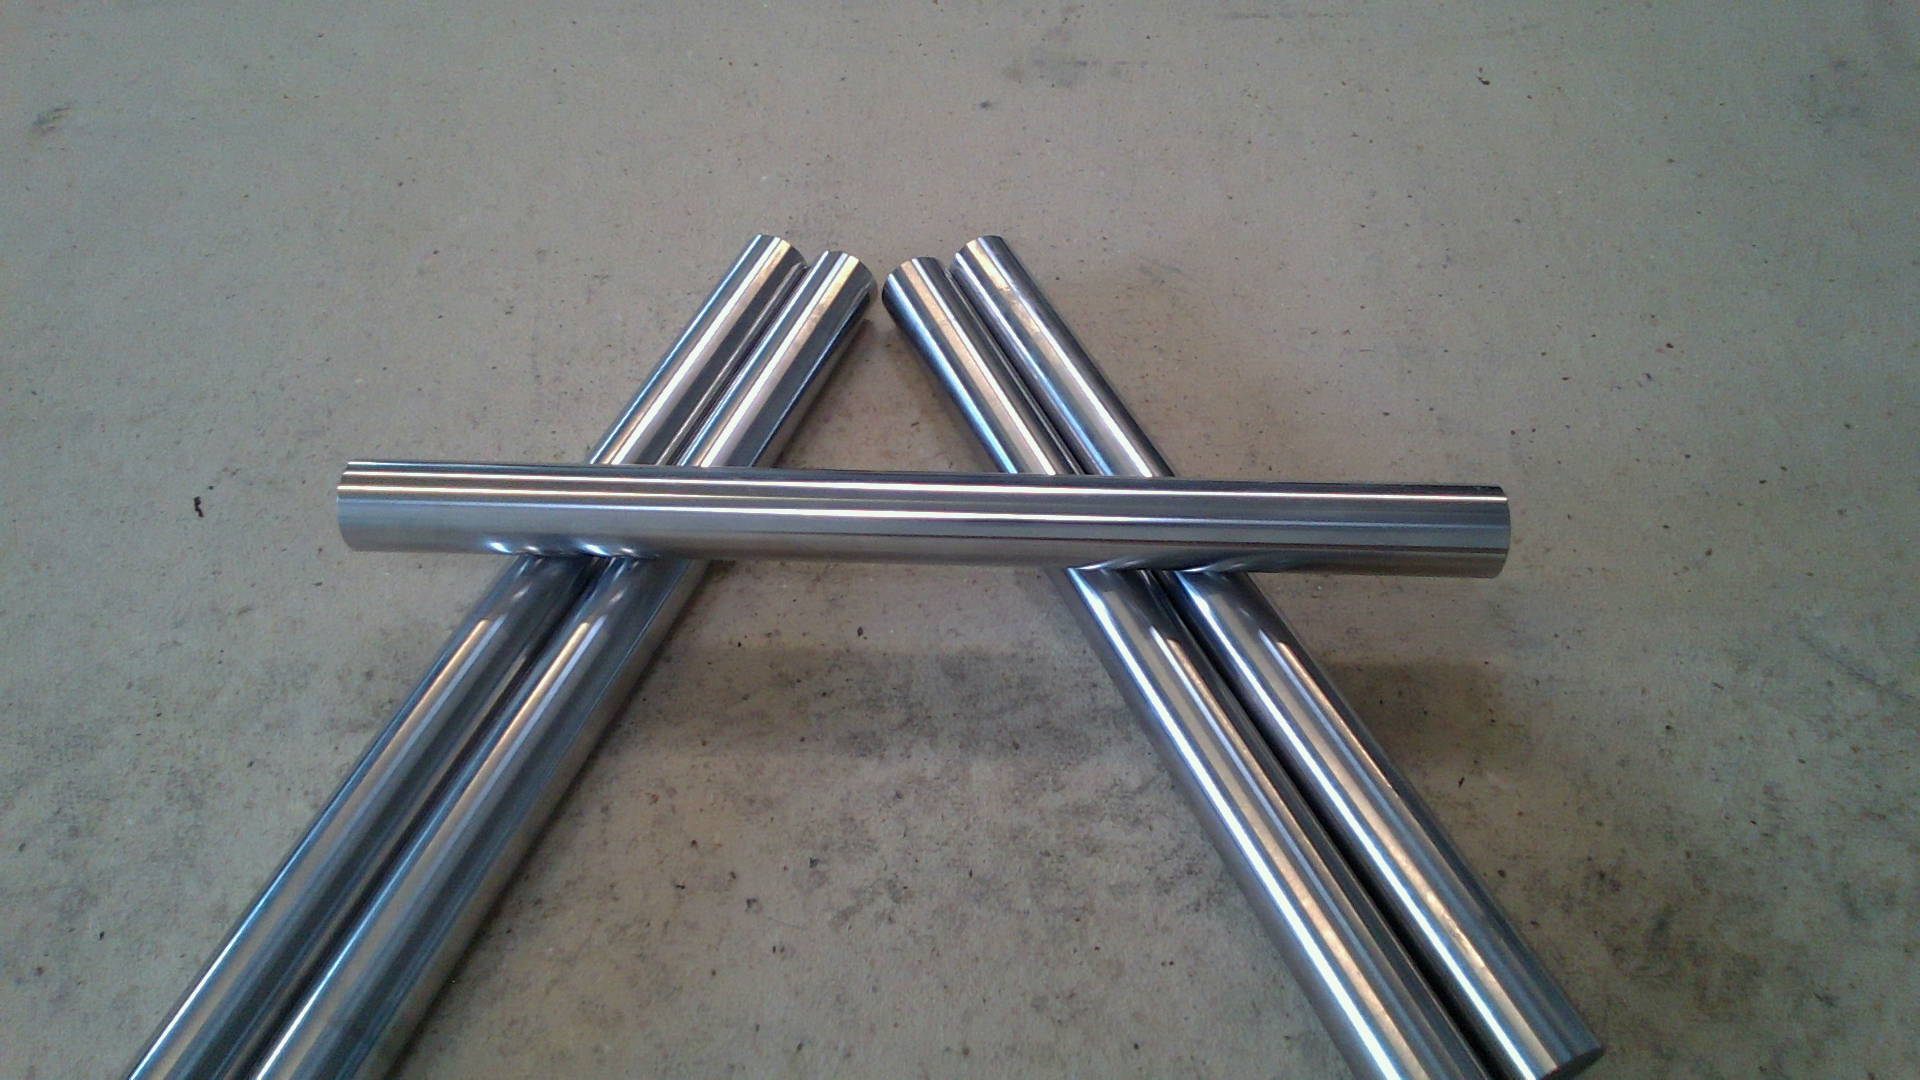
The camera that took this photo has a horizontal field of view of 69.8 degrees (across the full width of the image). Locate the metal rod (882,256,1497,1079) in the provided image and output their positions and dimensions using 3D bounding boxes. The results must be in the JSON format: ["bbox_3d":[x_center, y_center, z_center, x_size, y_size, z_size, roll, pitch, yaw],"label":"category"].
[{"bbox_3d":[0.045,0.020,0.376,0.025,0.025,0.299,-19,52,-15],"label":"metal rod"}]

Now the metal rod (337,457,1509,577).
[{"bbox_3d":[-0.010,-0.006,0.364,0.300,0.025,0.025,1,50,1],"label":"metal rod"}]

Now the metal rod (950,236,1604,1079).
[{"bbox_3d":[0.067,0.011,0.383,0.025,0.025,0.299,-19,52,-15],"label":"metal rod"}]

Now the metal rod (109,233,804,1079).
[{"bbox_3d":[-0.115,0.013,0.380,0.025,0.025,0.301,16,52,13],"label":"metal rod"}]

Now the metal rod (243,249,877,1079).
[{"bbox_3d":[-0.092,0.019,0.374,0.025,0.025,0.301,16,52,13],"label":"metal rod"}]
